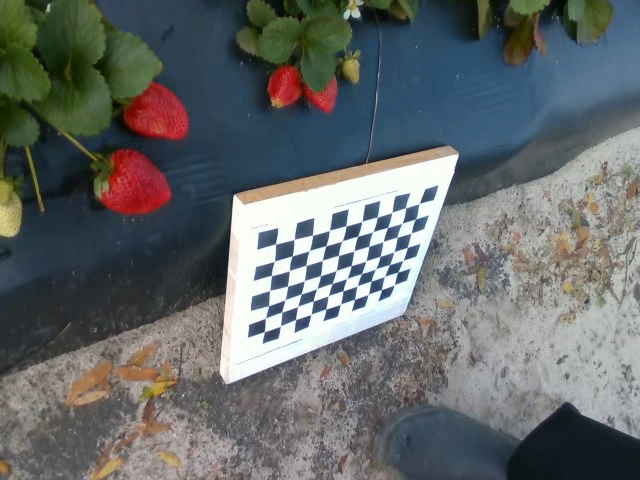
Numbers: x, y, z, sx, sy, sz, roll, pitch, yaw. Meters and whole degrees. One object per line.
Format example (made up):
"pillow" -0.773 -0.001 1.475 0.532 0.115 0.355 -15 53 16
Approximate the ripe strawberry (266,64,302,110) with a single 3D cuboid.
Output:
"ripe strawberry" -0.038 -0.146 0.621 0.038 0.053 0.047 19 -30 18

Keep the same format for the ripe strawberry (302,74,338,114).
"ripe strawberry" 0.004 -0.146 0.637 0.044 0.049 0.041 -19 -14 -25

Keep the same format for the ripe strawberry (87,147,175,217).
"ripe strawberry" -0.163 -0.047 0.569 0.065 0.058 0.043 25 26 -33

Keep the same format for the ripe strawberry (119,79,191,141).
"ripe strawberry" -0.142 -0.109 0.566 0.059 0.050 0.051 35 26 -3
